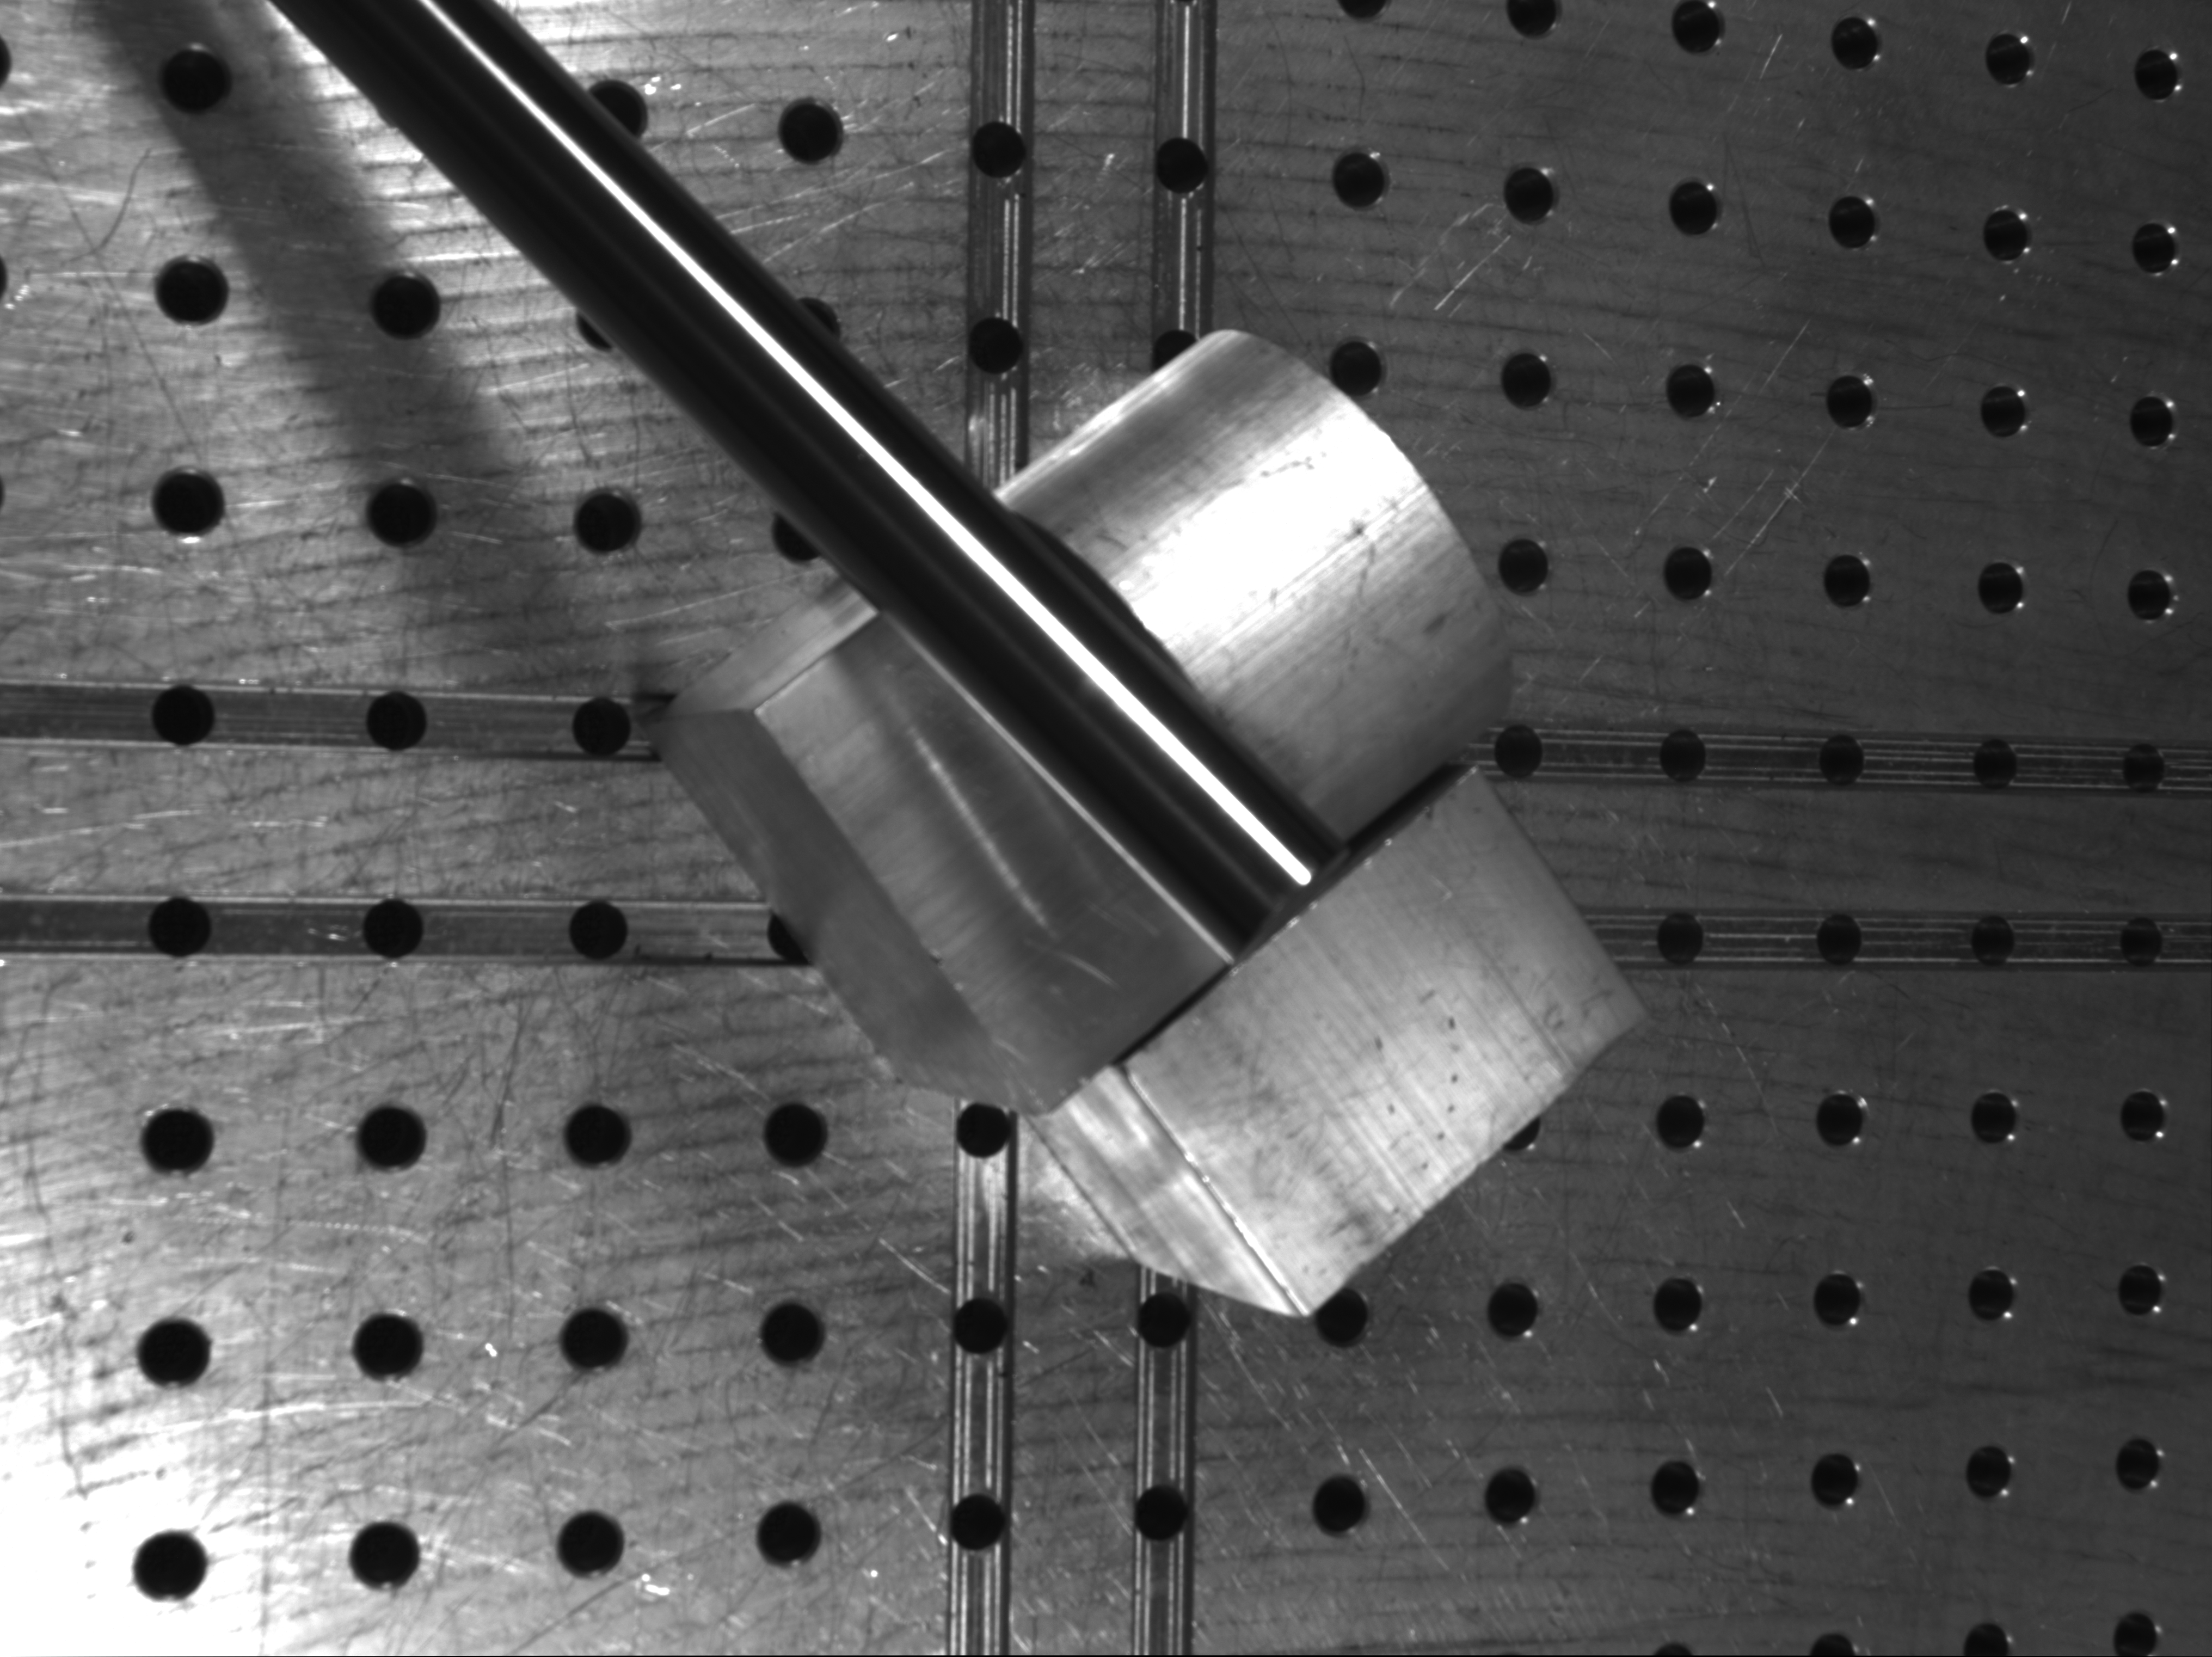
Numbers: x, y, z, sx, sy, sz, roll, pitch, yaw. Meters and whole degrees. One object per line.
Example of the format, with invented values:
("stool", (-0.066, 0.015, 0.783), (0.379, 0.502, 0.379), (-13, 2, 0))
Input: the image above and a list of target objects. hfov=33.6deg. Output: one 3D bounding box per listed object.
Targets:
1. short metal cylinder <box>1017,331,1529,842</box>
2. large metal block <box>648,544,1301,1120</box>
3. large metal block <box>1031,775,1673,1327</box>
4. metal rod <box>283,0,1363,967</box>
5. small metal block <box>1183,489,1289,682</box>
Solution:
("short metal cylinder", (0.023, -0.034, 0.598), (0.050, 0.080, 0.080), (-38, 102, -16))
("large metal block", (-0.024, -0.001, 0.609), (0.050, 0.080, 0.080), (-39, 102, -16))
("large metal block", (0.036, 0.035, 0.628), (0.080, 0.080, 0.050), (-39, 102, -16))
("metal rod", (-0.075, -0.094, 0.563), (0.025, 0.025, 0.300), (-43, 82, -15))
("small metal block", (0.020, -0.045, 0.653), (0.050, 0.025, 0.050), (-43, 103, -15))
